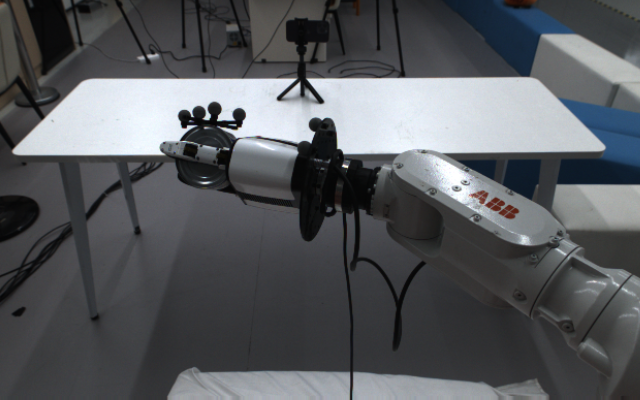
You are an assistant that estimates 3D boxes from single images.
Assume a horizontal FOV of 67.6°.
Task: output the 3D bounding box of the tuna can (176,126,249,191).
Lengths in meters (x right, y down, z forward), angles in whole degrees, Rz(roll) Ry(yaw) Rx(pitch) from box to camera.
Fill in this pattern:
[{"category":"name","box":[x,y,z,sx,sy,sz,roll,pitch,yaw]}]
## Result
[{"category":"tuna can","box":[-0.148,-0.055,0.653,0.085,0.085,0.034,11,-1,13]}]
